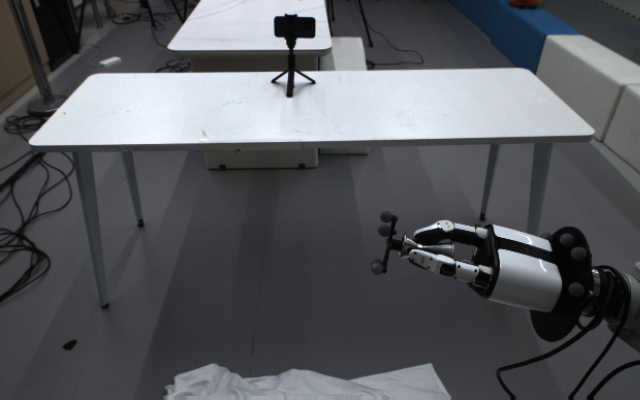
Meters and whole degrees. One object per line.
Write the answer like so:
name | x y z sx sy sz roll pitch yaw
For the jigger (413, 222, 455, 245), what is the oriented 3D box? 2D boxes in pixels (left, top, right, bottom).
jigger | 0.152 0.068 0.670 0.071 0.043 0.043 12 36 5
